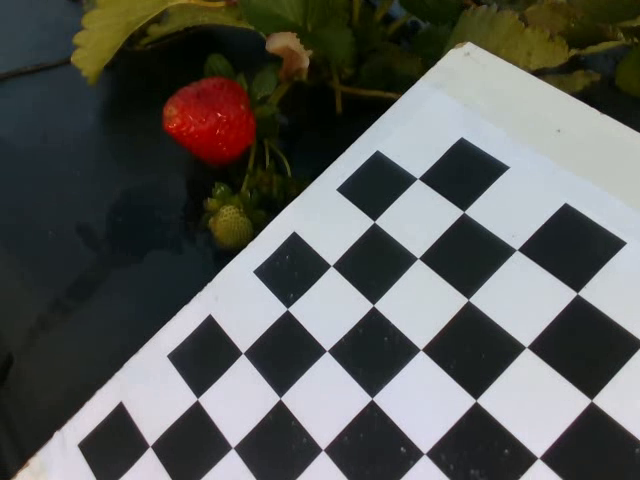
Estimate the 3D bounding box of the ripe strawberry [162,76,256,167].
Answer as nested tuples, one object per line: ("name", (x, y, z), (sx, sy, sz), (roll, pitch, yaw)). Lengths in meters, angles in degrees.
("ripe strawberry", (-0.061, -0.062, 0.304), (0.043, 0.052, 0.057), (12, 9, 31))
